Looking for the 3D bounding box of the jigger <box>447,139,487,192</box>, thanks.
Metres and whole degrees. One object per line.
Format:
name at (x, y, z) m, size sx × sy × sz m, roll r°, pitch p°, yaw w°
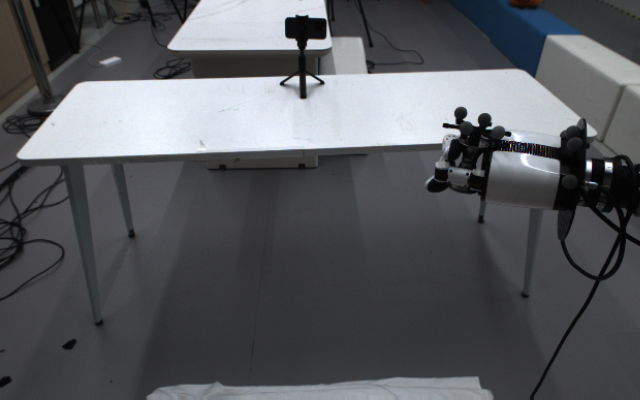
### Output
jigger at (0.205, -0.048, 0.669) m, size 0.043 × 0.071 × 0.043 m, roll 6°, pitch 26°, yaw -3°
